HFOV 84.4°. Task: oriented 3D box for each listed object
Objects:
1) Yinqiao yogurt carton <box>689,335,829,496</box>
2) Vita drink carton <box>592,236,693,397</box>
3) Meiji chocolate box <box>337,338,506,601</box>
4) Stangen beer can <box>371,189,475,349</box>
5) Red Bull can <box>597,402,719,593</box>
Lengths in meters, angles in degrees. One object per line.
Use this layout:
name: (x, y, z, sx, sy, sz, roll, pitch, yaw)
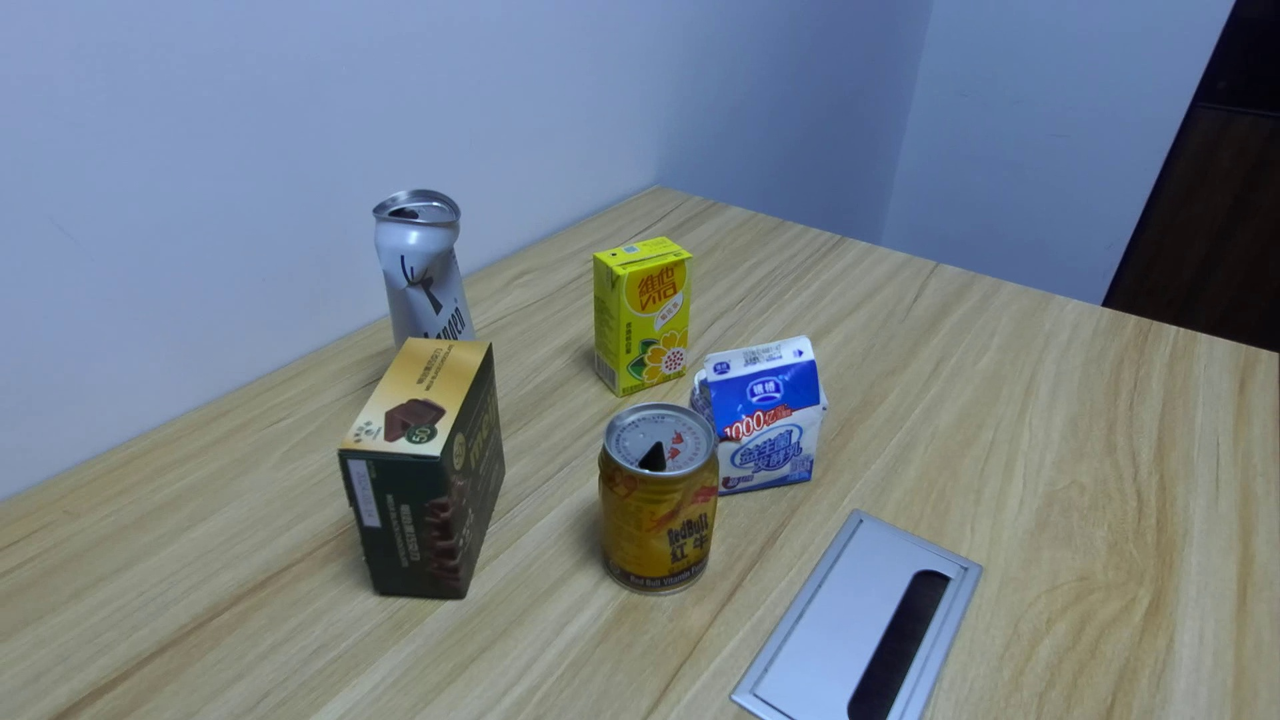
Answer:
Yinqiao yogurt carton: (0.078, 0.027, 0.473, 0.083, 0.093, 0.077, -7, 36, -10)
Vita drink carton: (0.002, -0.034, 0.549, 0.067, 0.109, 0.043, -18, 39, -26)
Meiji chocolate box: (-0.119, 0.060, 0.412, 0.056, 0.109, 0.110, 3, 35, 2)
Stangen beer can: (-0.148, -0.035, 0.504, 0.066, 0.162, 0.076, -20, 41, -28)
Red Bull can: (0.010, 0.078, 0.400, 0.069, 0.092, 0.069, 1, 34, 0)
